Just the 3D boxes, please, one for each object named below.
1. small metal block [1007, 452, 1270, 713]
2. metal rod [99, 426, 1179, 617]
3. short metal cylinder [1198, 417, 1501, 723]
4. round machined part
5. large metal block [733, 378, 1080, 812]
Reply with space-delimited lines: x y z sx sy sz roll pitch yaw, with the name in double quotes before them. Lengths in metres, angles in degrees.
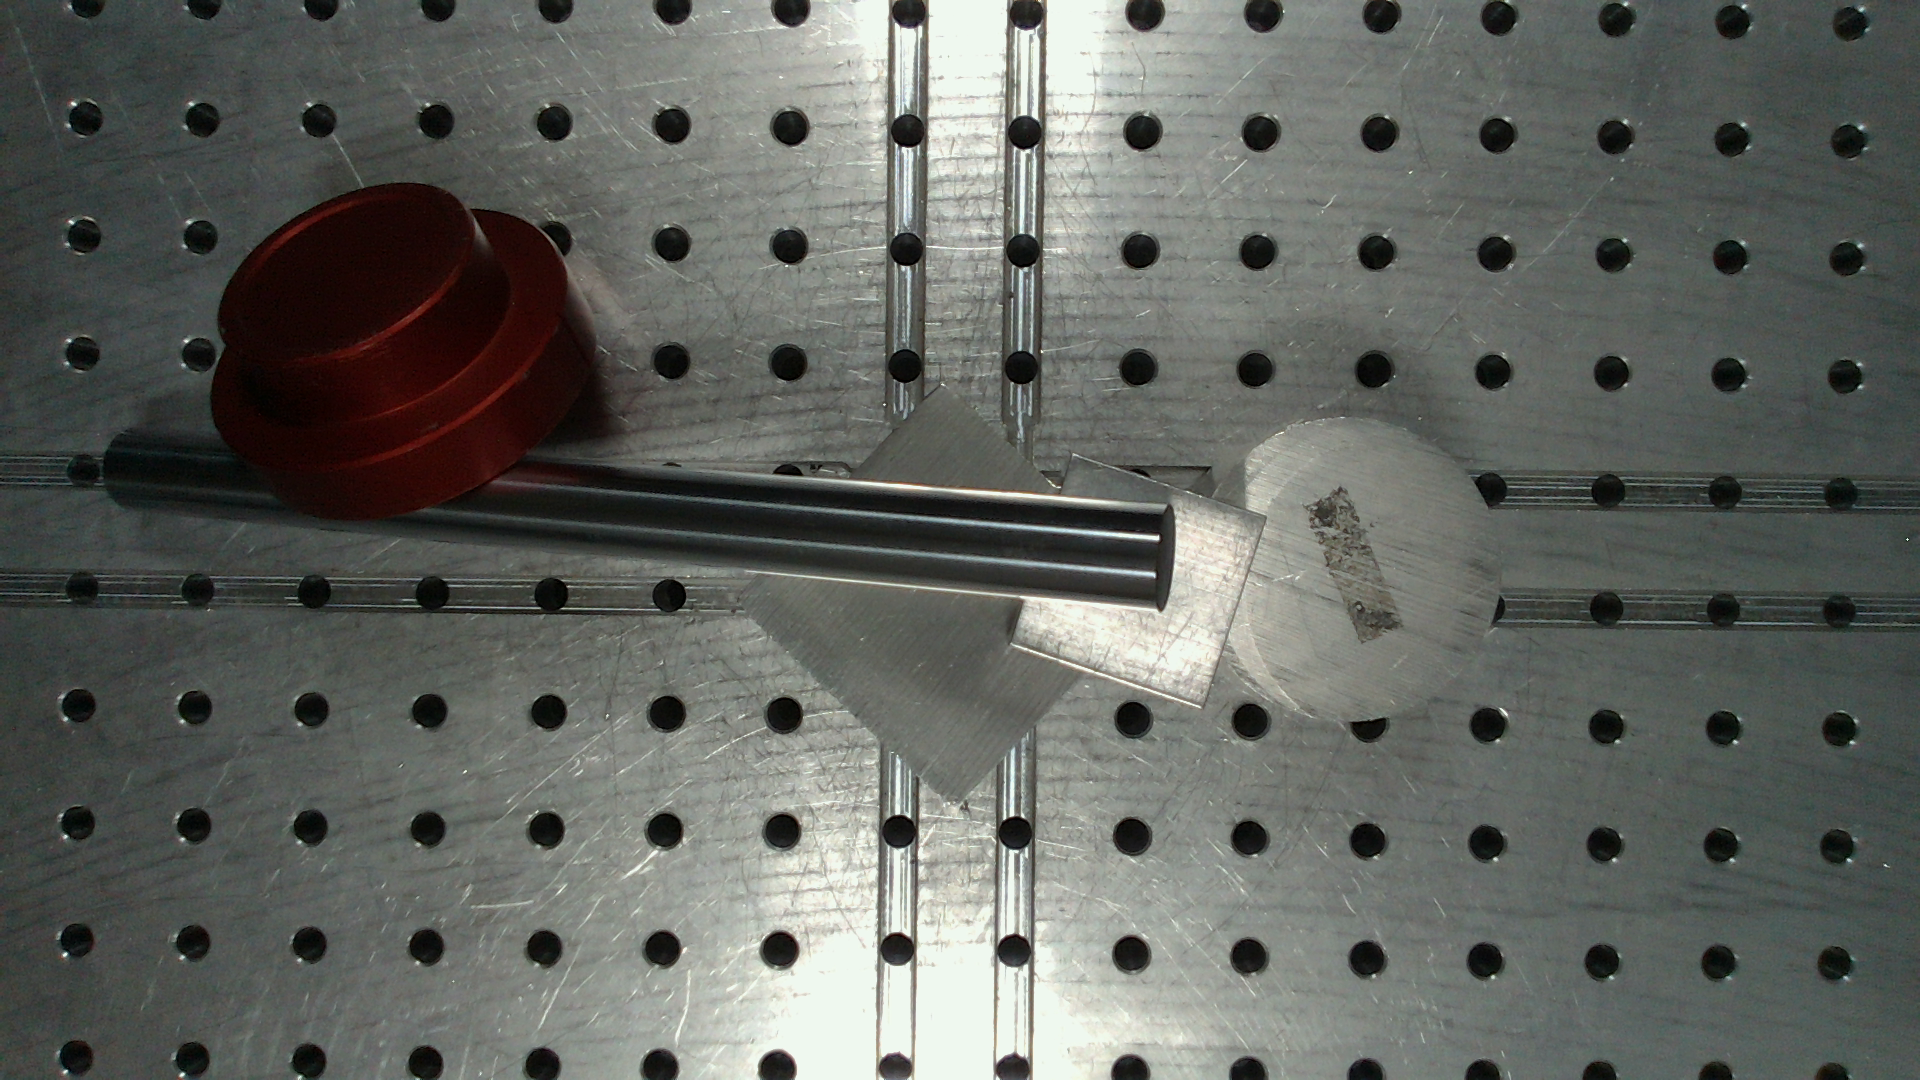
"small metal block" 0.044 0.010 0.346 0.050 0.025 0.050 18 90 0
"metal rod" -0.095 -0.008 0.354 0.299 0.025 0.025 5 90 17
"short metal cylinder" 0.102 0.008 0.385 0.080 0.050 0.080 0 90 0
"round machined part" -0.151 -0.056 0.362 0.098 0.042 0.098 -7 51 9
"large metal block" -0.002 0.014 0.383 0.080 0.050 0.080 44 90 0
